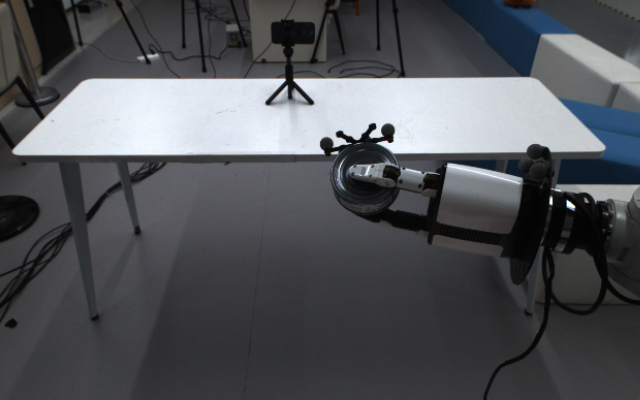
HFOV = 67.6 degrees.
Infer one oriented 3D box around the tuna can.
[{"bbox_3d":[0.058,-0.029,0.594,0.085,0.034,0.085,-4,68,9],"label":"tuna can"}]
